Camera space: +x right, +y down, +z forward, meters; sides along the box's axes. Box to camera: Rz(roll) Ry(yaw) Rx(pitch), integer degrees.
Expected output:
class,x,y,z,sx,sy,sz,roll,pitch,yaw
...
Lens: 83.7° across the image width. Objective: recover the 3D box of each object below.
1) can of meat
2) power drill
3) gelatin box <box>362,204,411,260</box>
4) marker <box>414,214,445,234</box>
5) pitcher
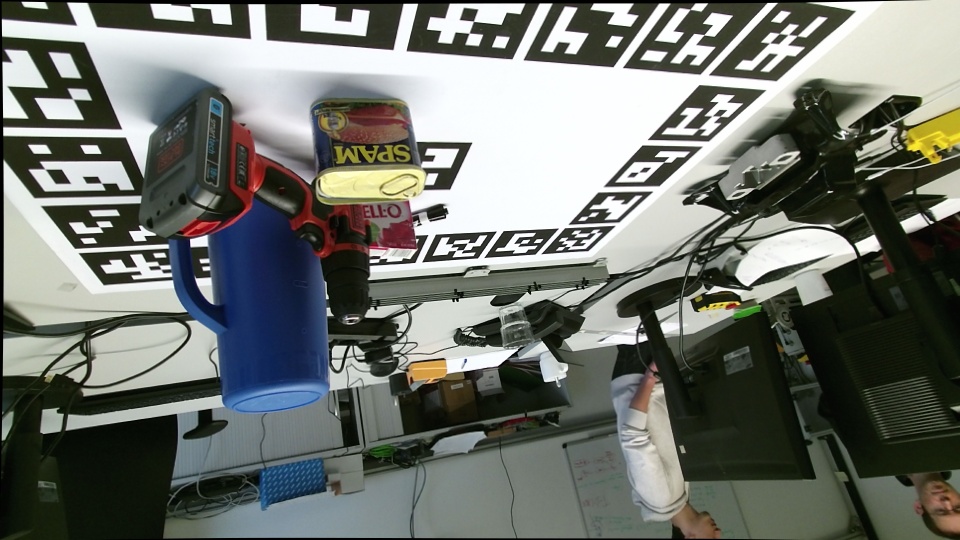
class,x,y,z,sx,sy,sz,roll,pitch,yaw
can of meat,-0.117,-0.112,0.522,0.102,0.083,0.058,-5,158,-19
power drill,-0.188,-0.037,0.537,0.057,0.183,0.188,-31,147,29
gelatin box,-0.138,-0.051,0.676,0.090,0.073,0.030,1,149,-29
marker,-0.107,-0.053,0.750,0.121,0.019,0.020,-17,157,4
pitcher,-0.257,0.032,0.600,0.133,0.241,0.189,-33,158,31
